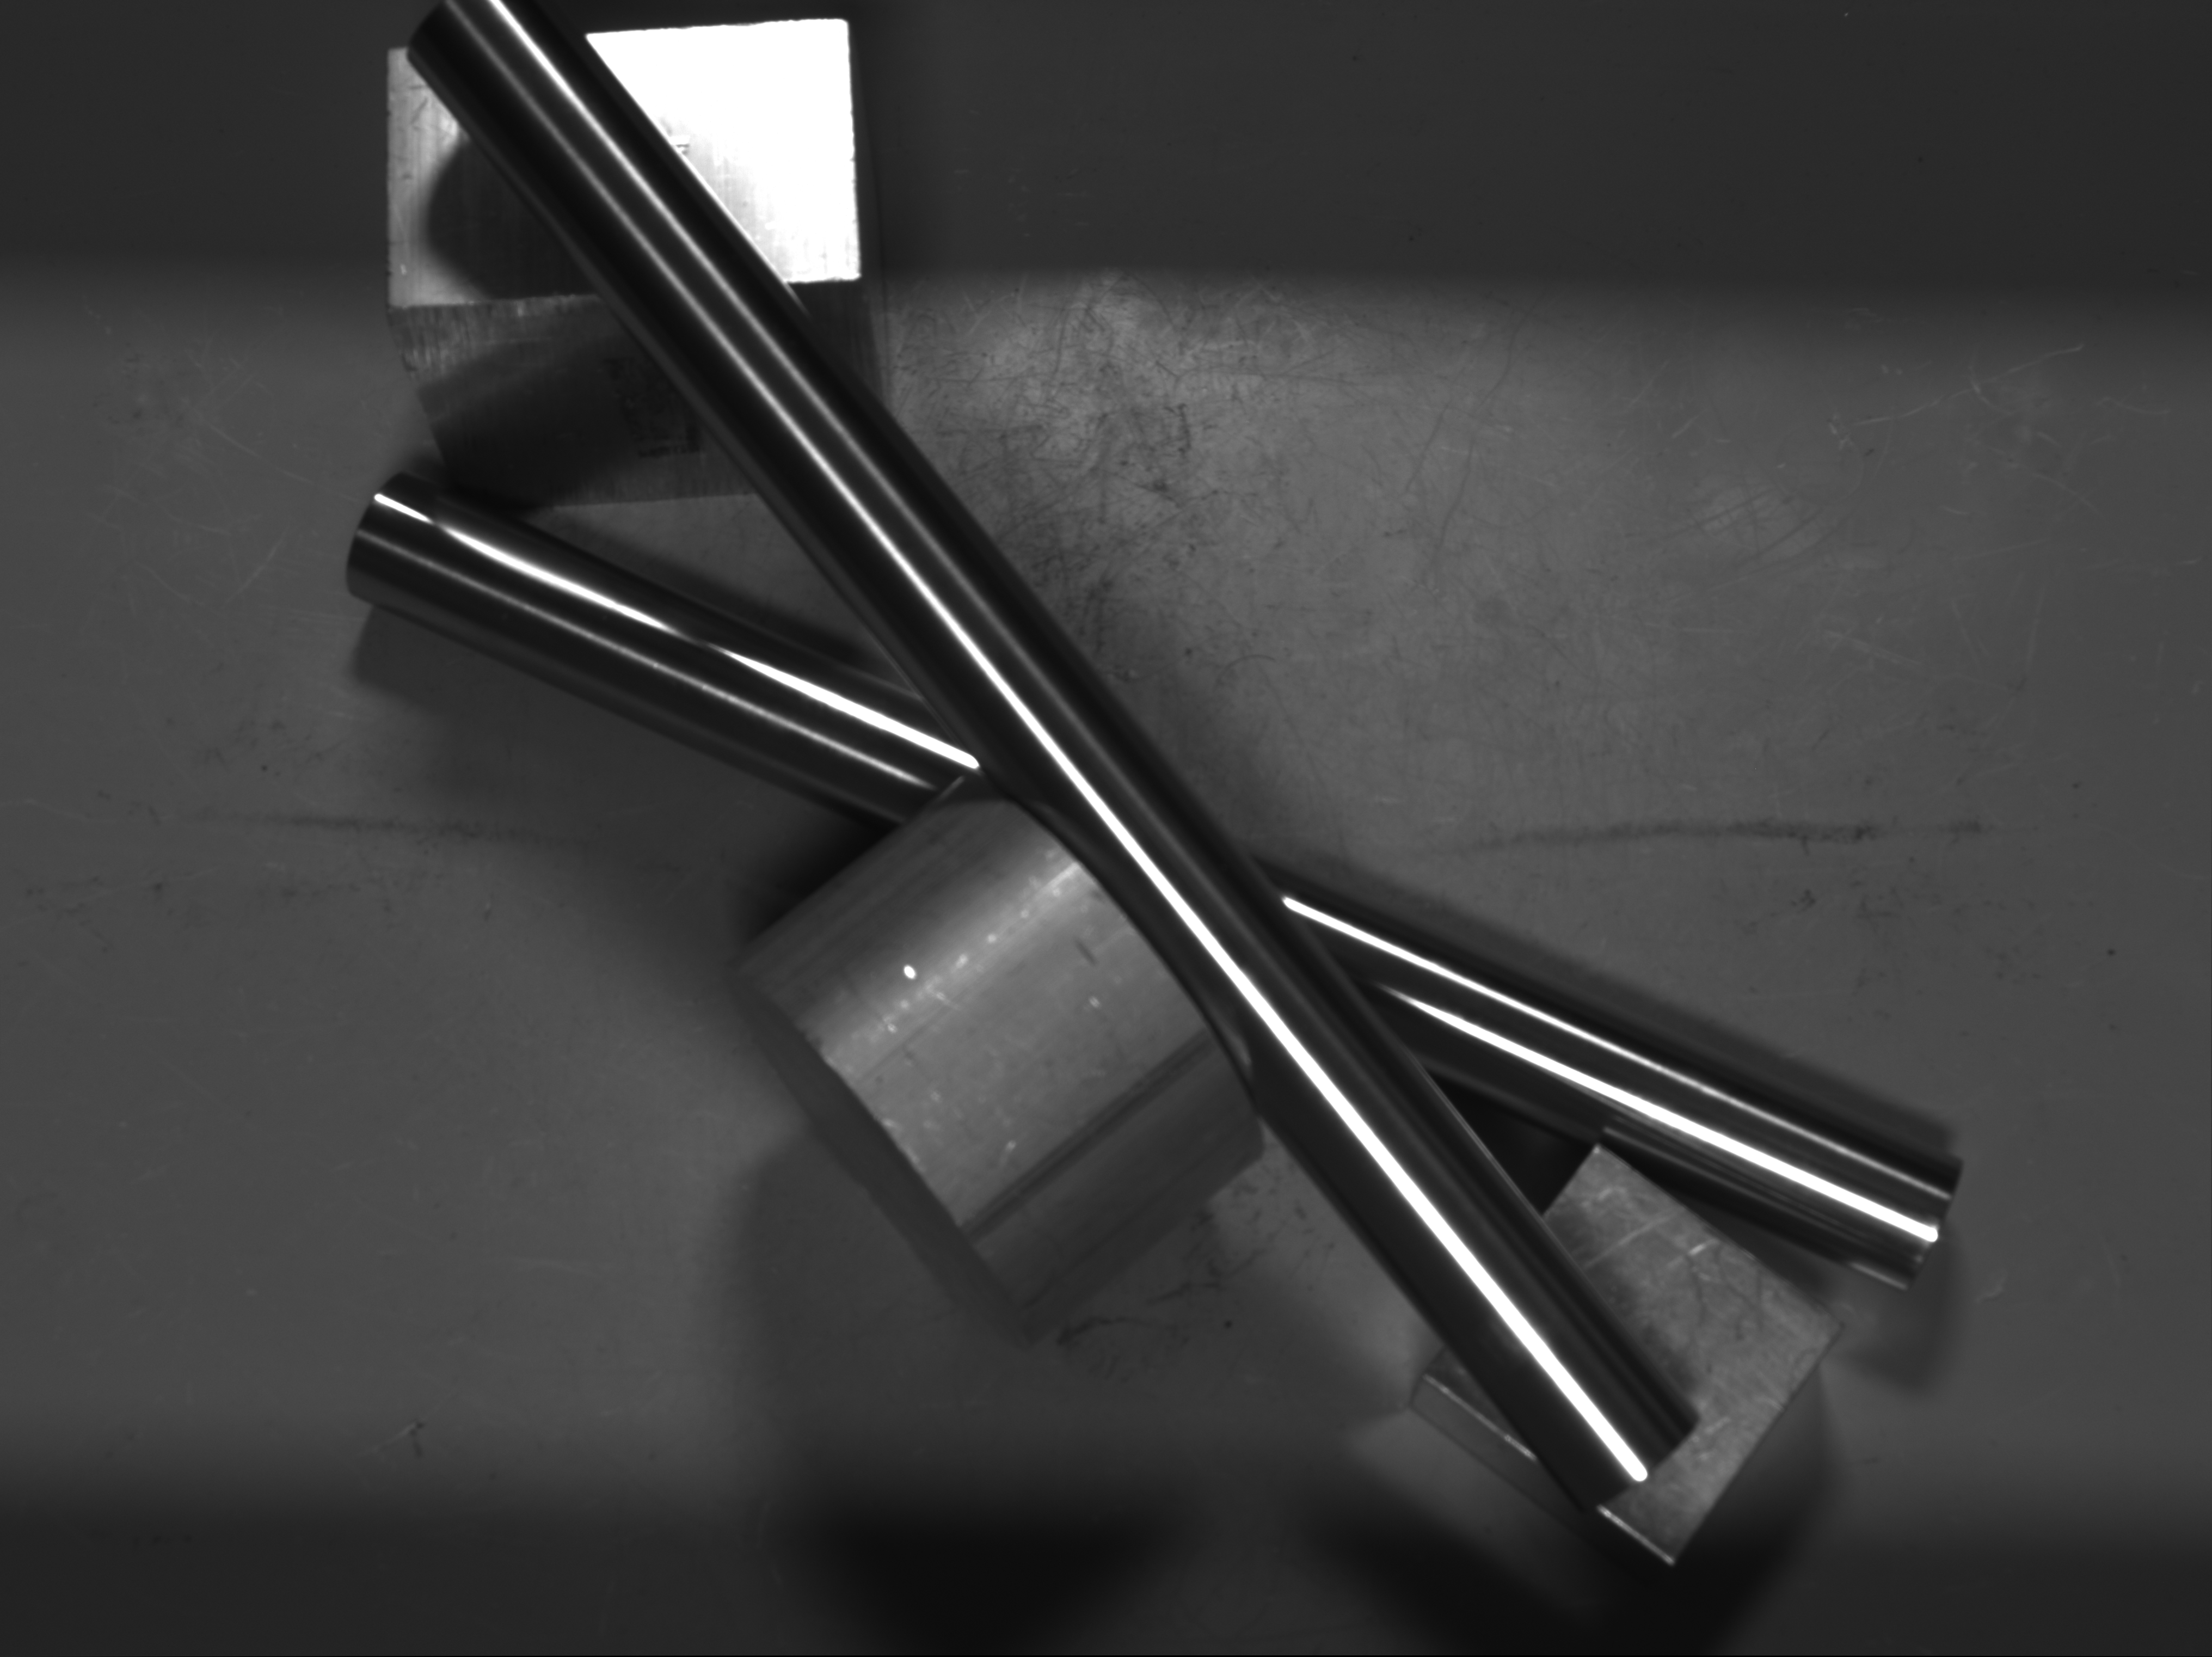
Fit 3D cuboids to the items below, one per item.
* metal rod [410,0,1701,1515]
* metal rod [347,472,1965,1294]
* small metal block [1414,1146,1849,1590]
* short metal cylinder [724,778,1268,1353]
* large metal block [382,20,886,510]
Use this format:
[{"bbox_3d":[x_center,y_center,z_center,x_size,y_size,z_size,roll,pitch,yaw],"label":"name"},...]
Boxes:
[{"bbox_3d":[-0.009,-0.016,0.588,0.025,0.025,0.300,-38,87,-13],"label":"metal rod"},{"bbox_3d":[0.005,0.007,0.641,0.300,0.025,0.025,24,72,8],"label":"metal rod"},{"bbox_3d":[0.087,0.090,0.611,0.050,0.025,0.050,36,74,12],"label":"small metal block"},{"bbox_3d":[-0.019,0.039,0.599,0.050,0.080,0.080,-38,74,-13],"label":"short metal cylinder"},{"bbox_3d":[-0.081,-0.098,0.651,0.080,0.080,0.050,-3,70,-1],"label":"large metal block"}]
